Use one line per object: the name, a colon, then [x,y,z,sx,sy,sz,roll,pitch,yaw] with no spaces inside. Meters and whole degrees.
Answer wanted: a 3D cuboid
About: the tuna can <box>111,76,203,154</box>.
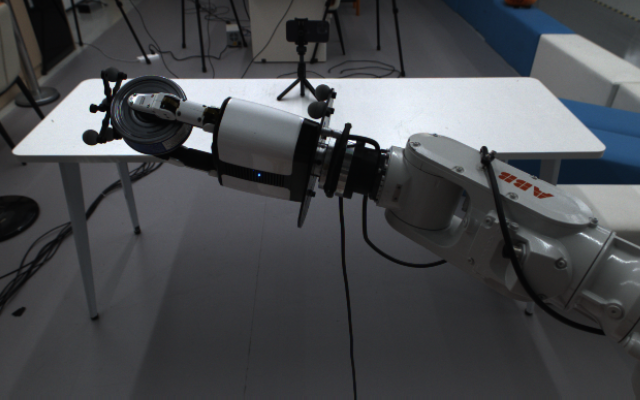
tuna can: [-0.185,-0.093,0.543,0.085,0.034,0.085,1,74,-5]
